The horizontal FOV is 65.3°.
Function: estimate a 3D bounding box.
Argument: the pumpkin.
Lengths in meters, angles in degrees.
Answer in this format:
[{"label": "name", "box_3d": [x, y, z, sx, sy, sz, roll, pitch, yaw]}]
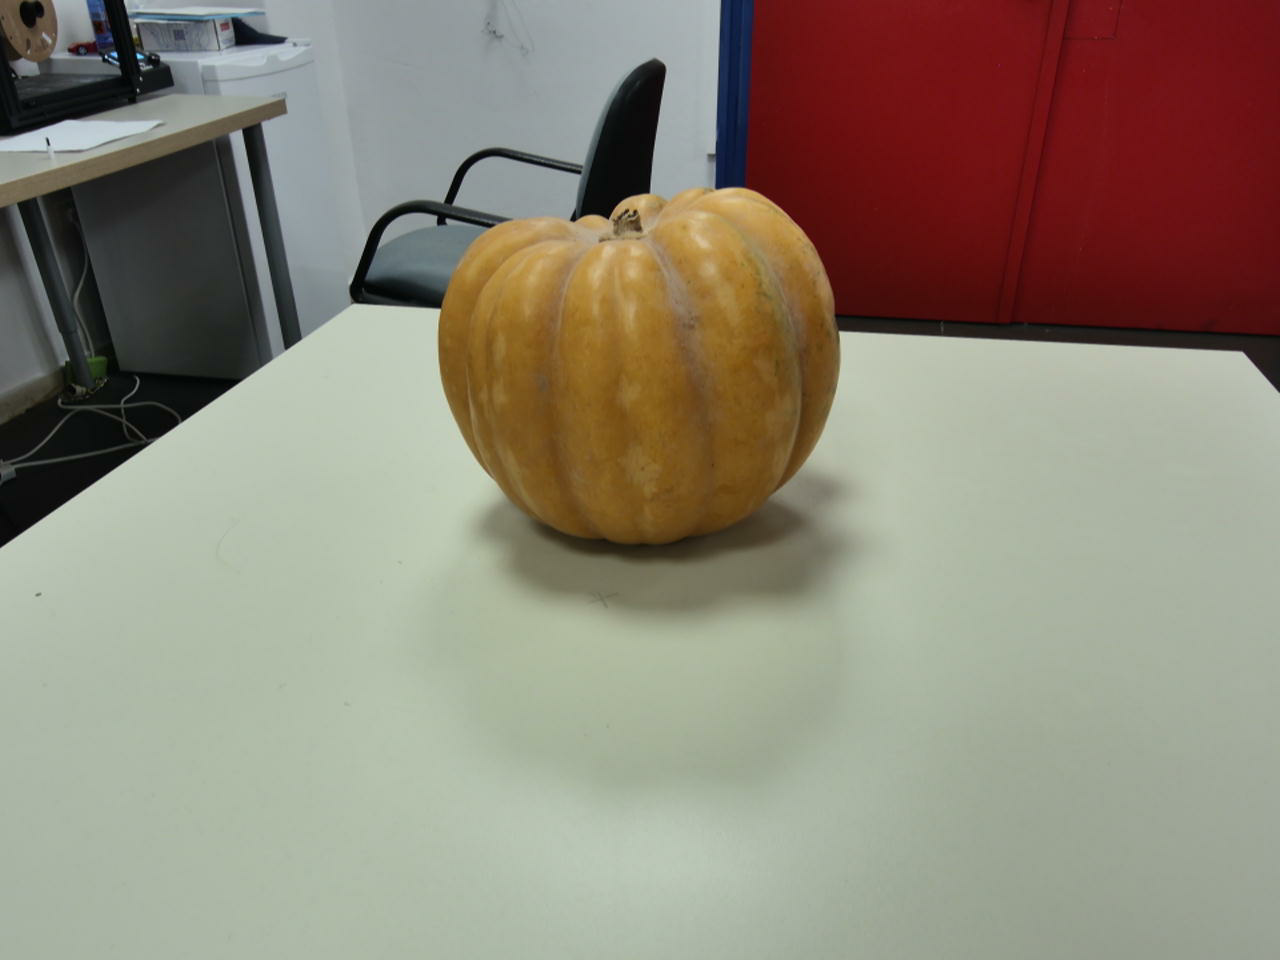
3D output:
[{"label": "pumpkin", "box_3d": [0.003, -0.067, 0.577, 0.230, 0.194, 0.230, 0, 26, 0]}]
